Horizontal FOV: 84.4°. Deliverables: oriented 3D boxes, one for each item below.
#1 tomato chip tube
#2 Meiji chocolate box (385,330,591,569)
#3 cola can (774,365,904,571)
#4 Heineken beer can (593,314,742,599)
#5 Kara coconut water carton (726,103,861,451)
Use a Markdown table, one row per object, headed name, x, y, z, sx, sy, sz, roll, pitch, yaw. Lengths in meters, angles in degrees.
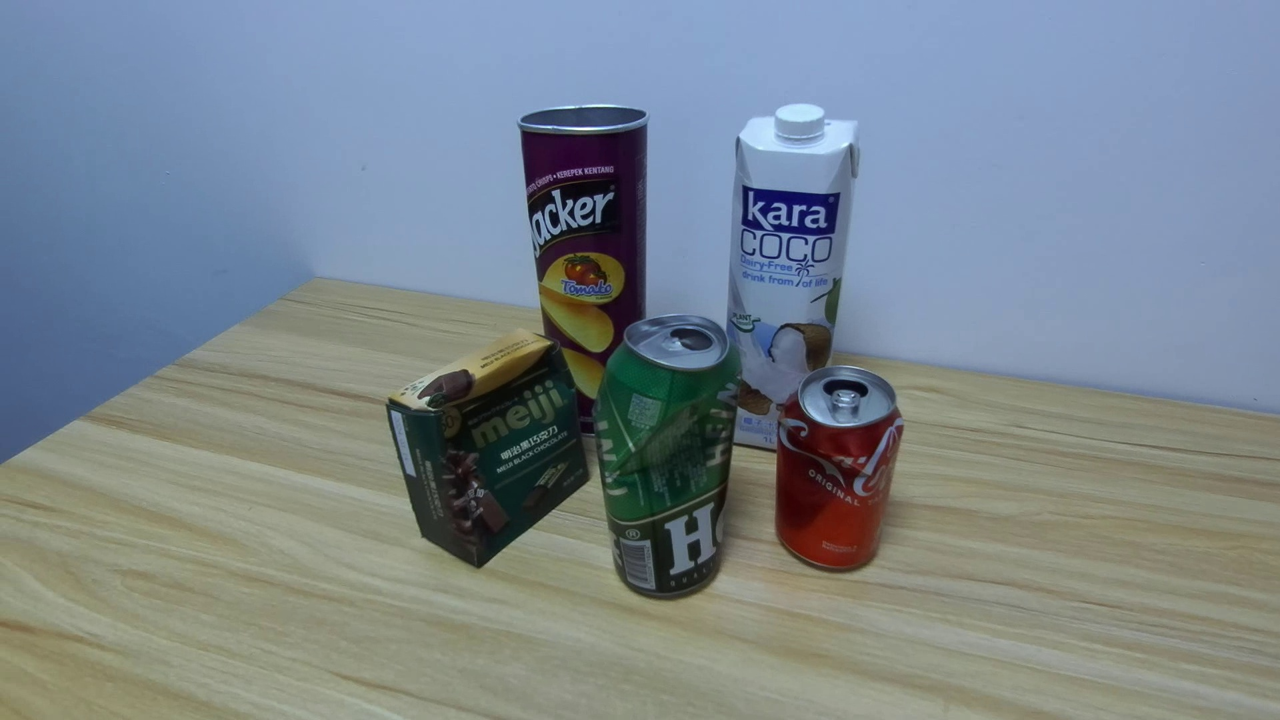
| name | x | y | z | sx | sy | sz | roll | pitch | yaw |
| --- | --- | --- | --- | --- | --- | --- | --- | --- | --- |
| tomato chip tube | -0.033 | -0.059 | 0.522 | 0.080 | 0.234 | 0.077 | 19 | 36 | 31 |
| Meiji chocolate box | -0.097 | 0.056 | 0.469 | 0.058 | 0.111 | 0.113 | 11 | 30 | 36 |
| cola can | 0.122 | 0.067 | 0.430 | 0.066 | 0.117 | 0.072 | -16 | 35 | -23 |
| Heineken beer can | 0.015 | 0.058 | 0.402 | 0.077 | 0.164 | 0.066 | 4 | 31 | 4 |
| Kara coconut water carton | 0.102 | -0.051 | 0.493 | 0.077 | 0.245 | 0.075 | 8 | 31 | 17 |
